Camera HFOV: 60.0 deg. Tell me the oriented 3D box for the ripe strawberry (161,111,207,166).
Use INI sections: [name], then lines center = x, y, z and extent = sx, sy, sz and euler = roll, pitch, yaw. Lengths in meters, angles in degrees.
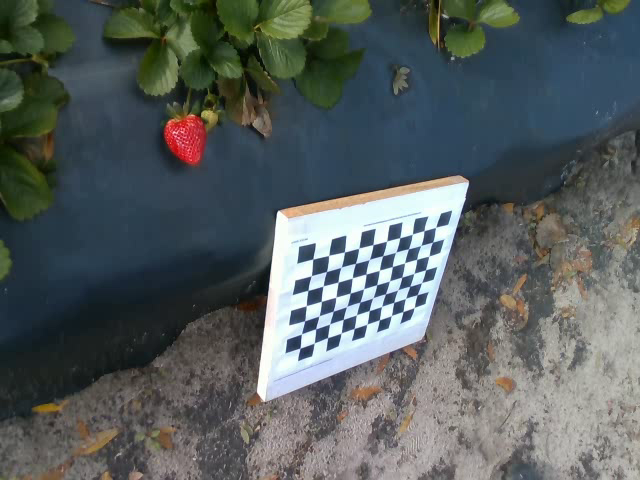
[ripe strawberry]
center = -0.132, -0.096, 0.543
extent = 0.045, 0.058, 0.050
euler = -10, -15, -33
